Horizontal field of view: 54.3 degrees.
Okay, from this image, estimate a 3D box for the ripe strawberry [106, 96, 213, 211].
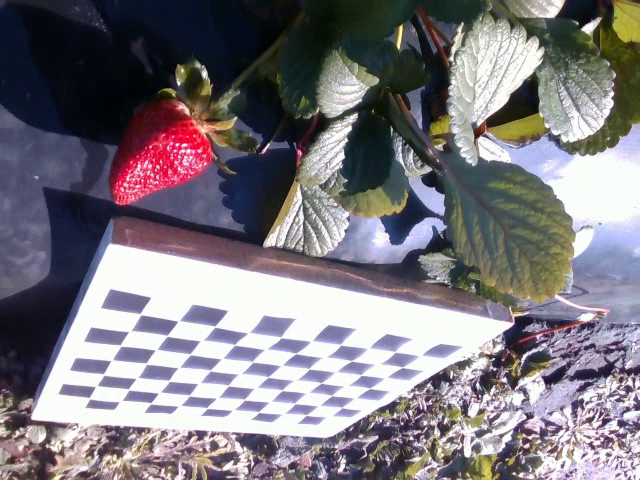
[{"bbox_3d":[-0.079,-0.039,0.292,0.058,0.062,0.066,12,-24,26],"label":"ripe strawberry"}]
